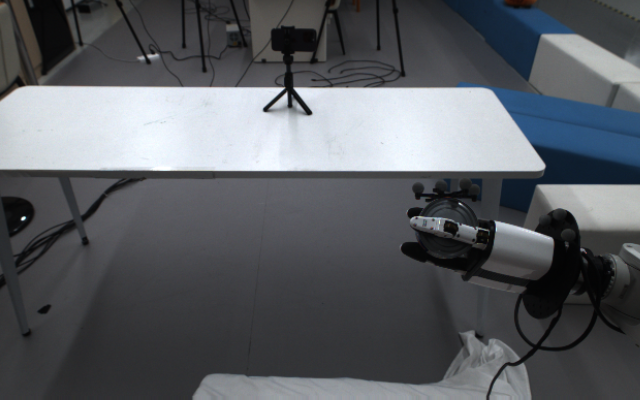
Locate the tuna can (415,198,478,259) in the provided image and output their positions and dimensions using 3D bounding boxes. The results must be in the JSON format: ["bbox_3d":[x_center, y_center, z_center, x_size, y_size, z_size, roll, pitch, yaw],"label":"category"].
[{"bbox_3d":[0.181,0.039,0.692,0.085,0.034,0.085,-1,75,4],"label":"tuna can"}]
